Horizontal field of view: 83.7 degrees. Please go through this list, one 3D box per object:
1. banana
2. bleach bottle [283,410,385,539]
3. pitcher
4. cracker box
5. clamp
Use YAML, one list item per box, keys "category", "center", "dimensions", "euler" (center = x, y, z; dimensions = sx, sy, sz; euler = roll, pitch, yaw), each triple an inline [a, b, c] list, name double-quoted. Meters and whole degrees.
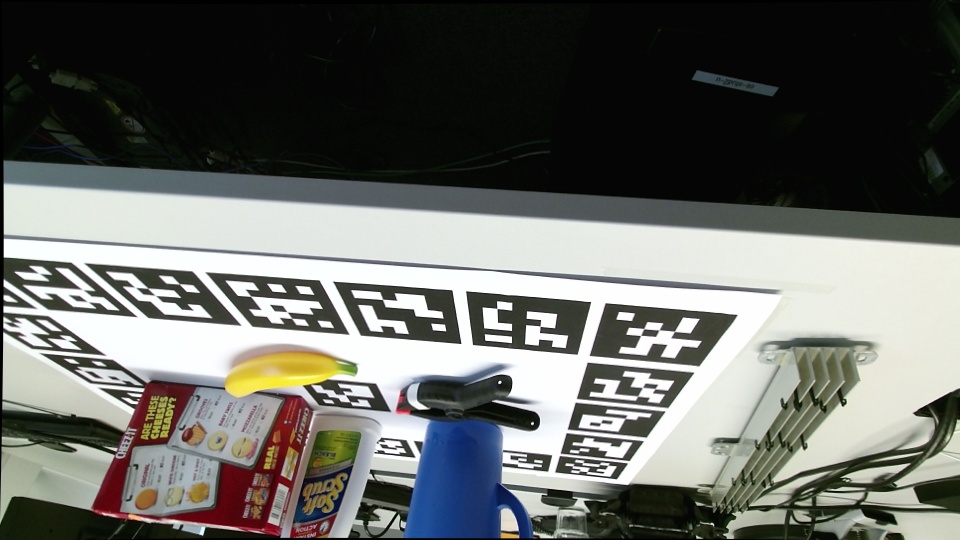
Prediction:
- category: "banana"
  center: [-0.243, 0.117, 0.632]
  dimensions: [0.198, 0.038, 0.074]
  euler: [-18, 140, 33]
- category: "bleach bottle"
  center: [-0.205, 0.322, 0.730]
  dimensions: [0.103, 0.249, 0.068]
  euler: [4, 147, 5]
- category: "pitcher"
  center: [-0.022, 0.329, 0.670]
  dimensions: [0.189, 0.241, 0.133]
  euler: [-5, 145, 22]
- category: "cracker box"
  center: [-0.359, 0.247, 0.697]
  dimensions: [0.214, 0.163, 0.072]
  euler: [4, 149, 3]
- category: "clamp"
  center: [-0.024, 0.153, 0.629]
  dimensions: [0.165, 0.036, 0.122]
  euler: [-4, 146, 20]
